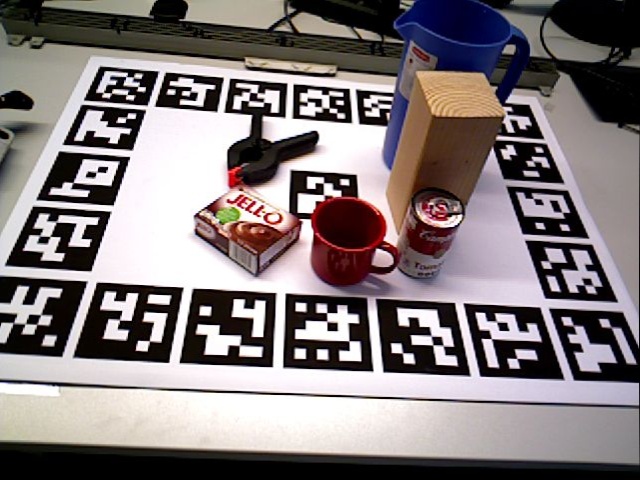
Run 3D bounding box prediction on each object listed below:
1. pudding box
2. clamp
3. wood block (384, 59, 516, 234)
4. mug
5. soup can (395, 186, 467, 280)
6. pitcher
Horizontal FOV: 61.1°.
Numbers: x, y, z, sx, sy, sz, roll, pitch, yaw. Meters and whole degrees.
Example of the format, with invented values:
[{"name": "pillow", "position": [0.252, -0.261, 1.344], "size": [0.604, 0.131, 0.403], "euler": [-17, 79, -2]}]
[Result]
[{"name": "pudding box", "position": [-0.104, -0.022, 0.701], "size": [0.114, 0.039, 0.088], "euler": [33, 56, 21]}, {"name": "clamp", "position": [-0.083, -0.136, 0.810], "size": [0.122, 0.037, 0.161], "euler": [31, 53, 9]}, {"name": "wood block", "position": [0.155, -0.107, 0.687], "size": [0.089, 0.211, 0.089], "euler": [4, 48, -9]}, {"name": "mug", "position": [0.038, 0.009, 0.660], "size": [0.117, 0.083, 0.091], "euler": [32, 50, 21]}, {"name": "soup can", "position": [0.132, -0.006, 0.668], "size": [0.067, 0.104, 0.067], "euler": [3, 51, -5]}, {"name": "pitcher", "position": [0.182, -0.205, 0.755], "size": [0.188, 0.248, 0.131], "euler": [2, 47, -2]}]
